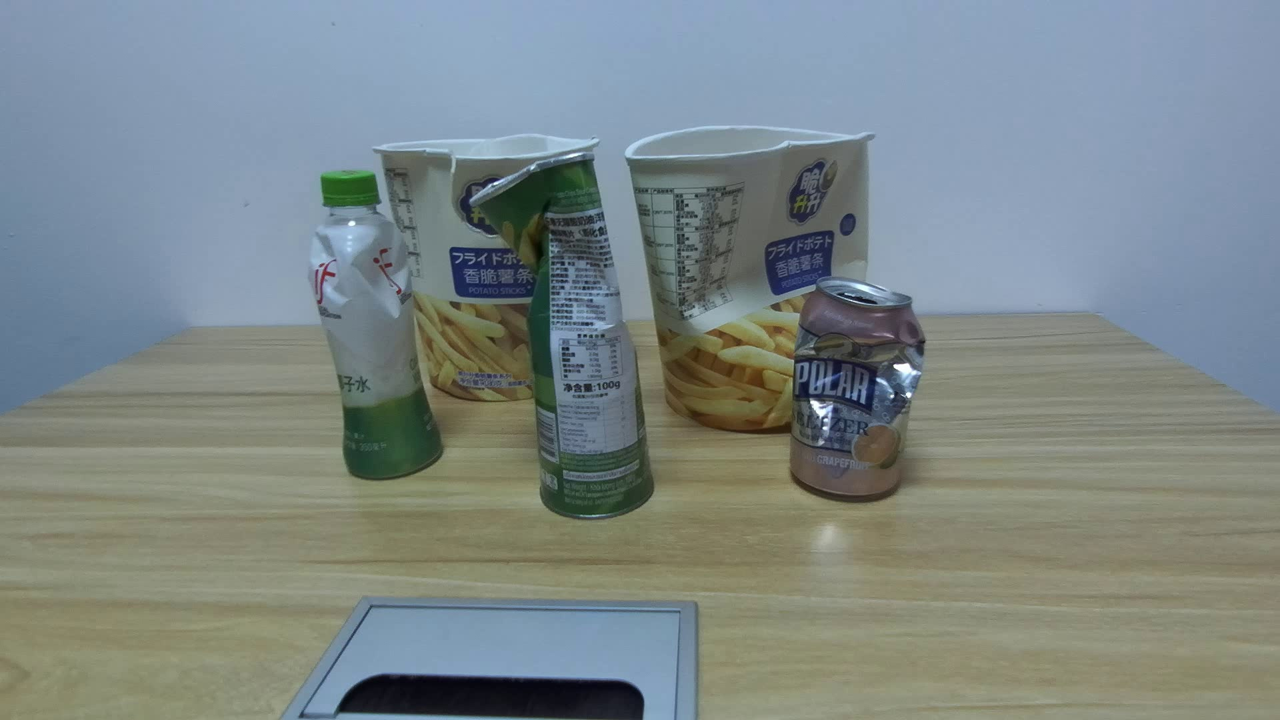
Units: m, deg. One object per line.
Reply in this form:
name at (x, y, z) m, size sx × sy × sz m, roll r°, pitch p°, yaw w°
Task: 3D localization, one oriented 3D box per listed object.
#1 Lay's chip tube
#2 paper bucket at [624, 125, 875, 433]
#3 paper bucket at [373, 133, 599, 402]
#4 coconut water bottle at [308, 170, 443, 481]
Lay's chip tube at (-0.040, -0.010, 0.395) m, size 0.071 × 0.199 × 0.079 m, roll -11°, pitch 19°, yaw -3°
paper bucket at (0.090, -0.065, 0.519) m, size 0.147 × 0.199 × 0.218 m, roll 4°, pitch 21°, yaw 17°
paper bucket at (-0.113, -0.083, 0.588) m, size 0.146 × 0.197 × 0.201 m, roll -20°, pitch 26°, yaw -36°
coconut water bottle at (-0.168, -0.021, 0.446) m, size 0.067 × 0.187 × 0.067 m, roll -1°, pitch 20°, yaw 1°
